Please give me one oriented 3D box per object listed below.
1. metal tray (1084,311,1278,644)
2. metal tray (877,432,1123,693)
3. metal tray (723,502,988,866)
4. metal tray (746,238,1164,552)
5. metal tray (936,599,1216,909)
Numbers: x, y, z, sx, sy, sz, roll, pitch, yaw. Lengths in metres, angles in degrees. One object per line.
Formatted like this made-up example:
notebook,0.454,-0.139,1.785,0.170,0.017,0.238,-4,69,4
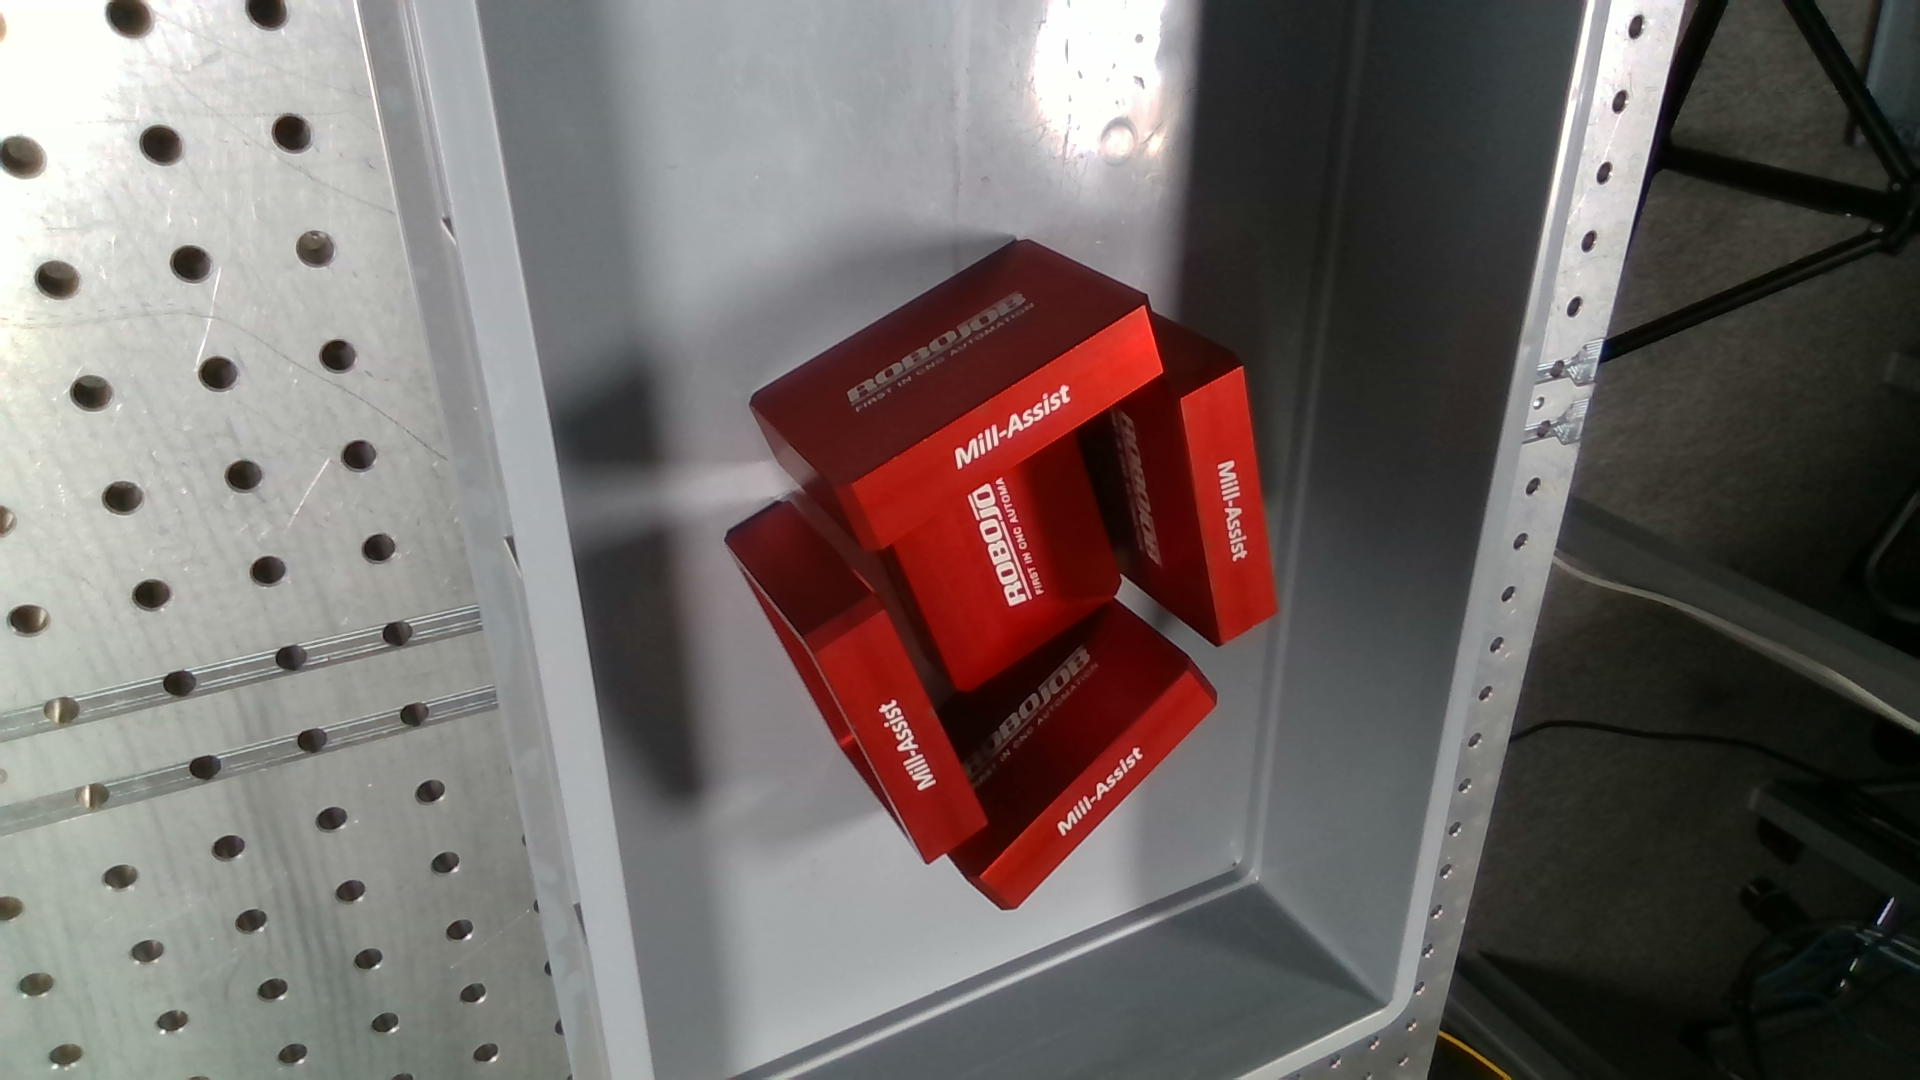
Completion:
metal tray,0.086,-0.030,0.573,0.030,0.090,0.130,-29,126,-16
metal tray,0.010,-0.009,0.576,0.090,0.030,0.130,-32,127,-13
metal tray,-0.041,0.058,0.543,0.030,0.090,0.130,-32,127,-13
metal tray,-0.003,-0.057,0.504,0.130,0.090,0.030,-33,127,-13
metal tray,0.037,0.086,0.607,0.130,0.090,0.030,-45,128,-3
